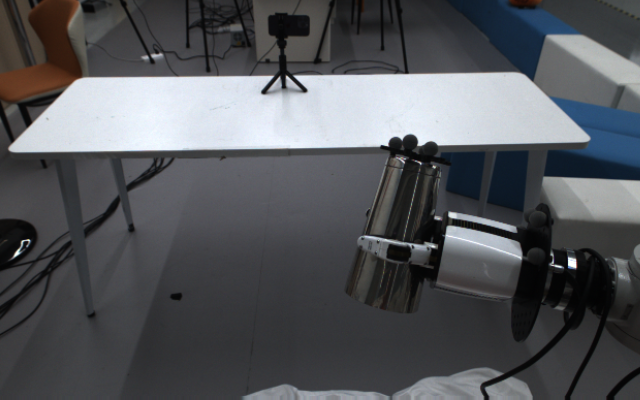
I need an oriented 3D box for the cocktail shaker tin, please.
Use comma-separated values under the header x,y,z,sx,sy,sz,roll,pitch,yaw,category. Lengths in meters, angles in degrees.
x,y,z,sx,sy,sz,roll,pitch,yaw,category
0.095,0.038,0.583,0.093,0.170,0.093,13,4,-1,cocktail shaker tin
